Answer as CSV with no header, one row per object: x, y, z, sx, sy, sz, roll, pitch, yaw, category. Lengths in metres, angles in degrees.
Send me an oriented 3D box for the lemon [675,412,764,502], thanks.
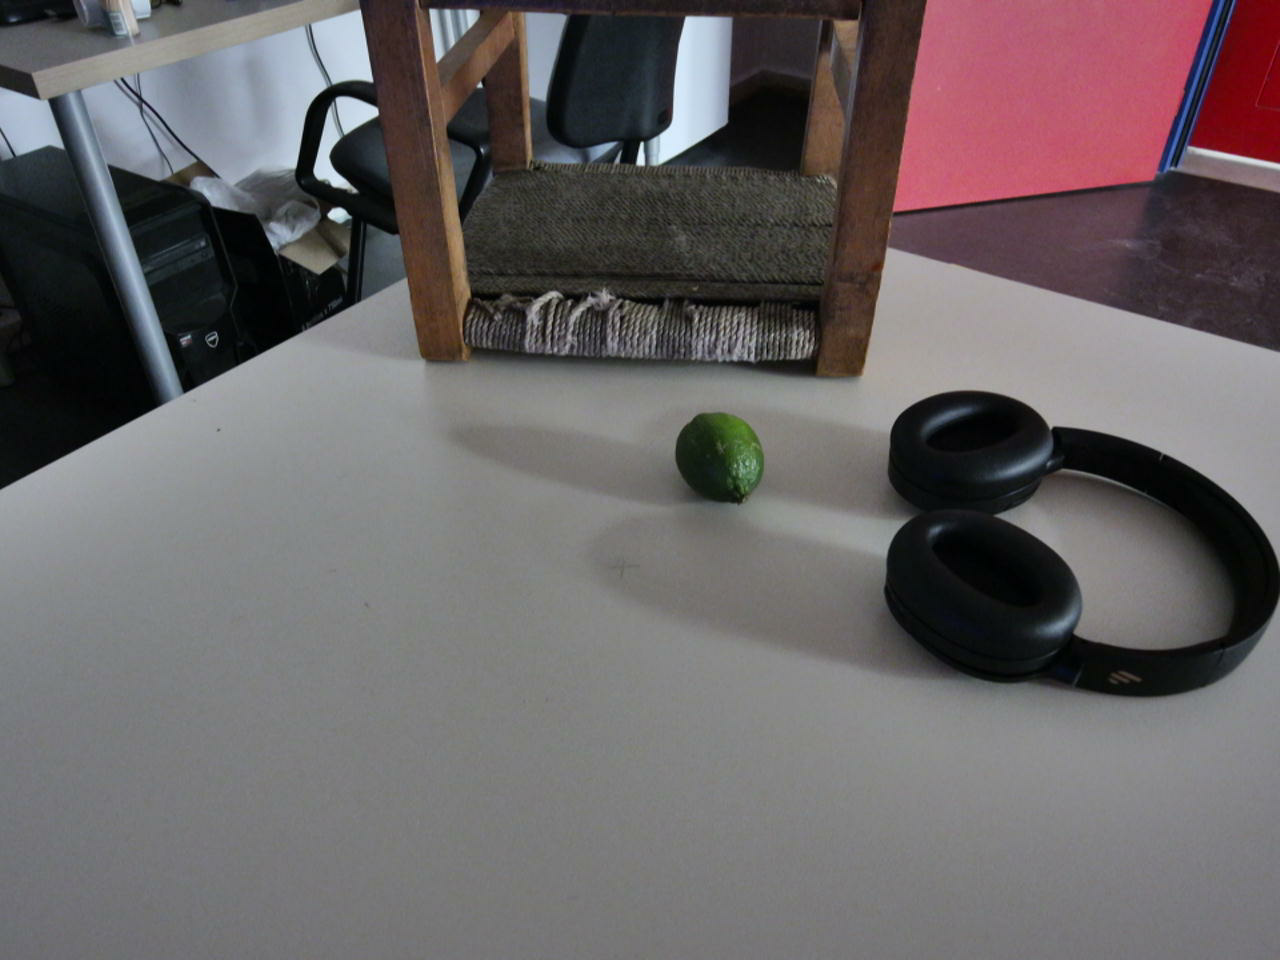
0.049,-0.015,0.614,0.057,0.051,0.054,22,43,26,lemon
